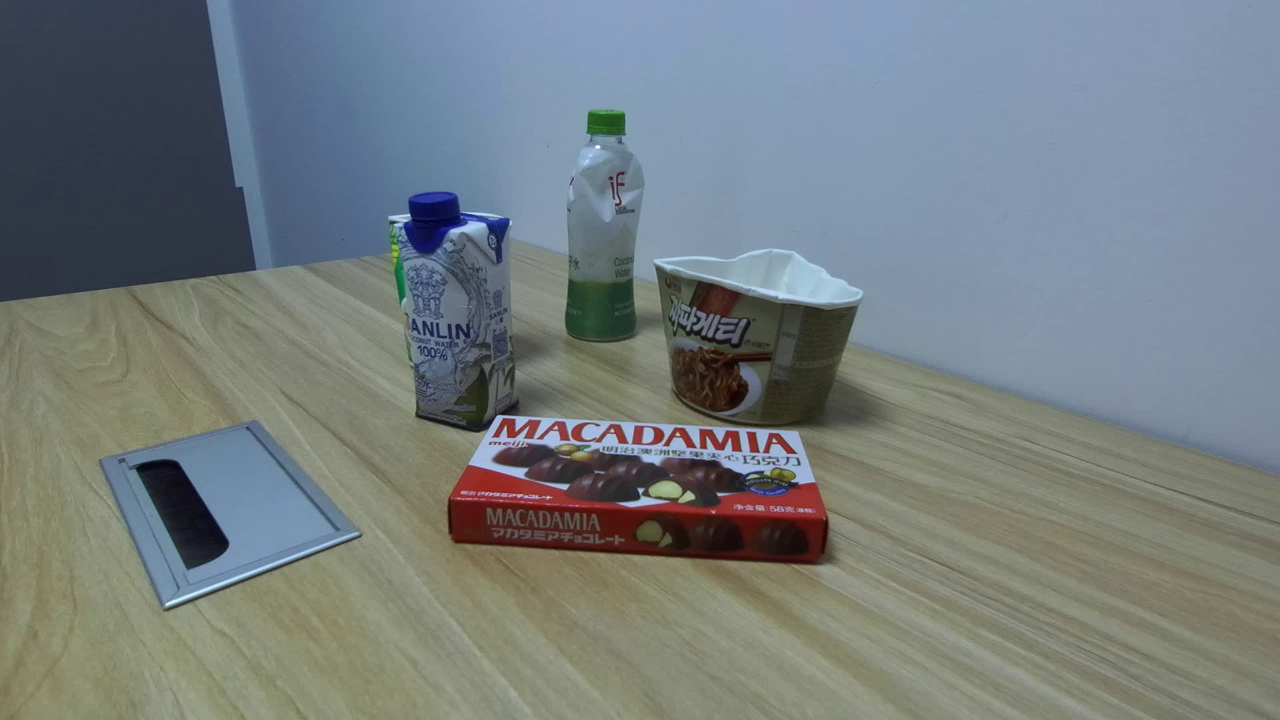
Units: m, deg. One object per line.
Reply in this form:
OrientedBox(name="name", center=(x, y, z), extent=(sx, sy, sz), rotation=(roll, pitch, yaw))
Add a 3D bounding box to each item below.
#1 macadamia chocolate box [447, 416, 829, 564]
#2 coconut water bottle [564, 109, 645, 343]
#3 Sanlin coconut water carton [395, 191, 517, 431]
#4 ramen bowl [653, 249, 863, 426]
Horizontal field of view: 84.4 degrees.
OrientedBox(name="macadamia chocolate box", center=(0.001, 0.065, 0.373), extent=(0.178, 0.027, 0.095), rotation=(3, 20, 3))
OrientedBox(name="coconut water bottle", center=(-0.031, -0.112, 0.599), extent=(0.067, 0.187, 0.067), rotation=(2, 20, -1))
OrientedBox(name="Sanlin coconut water carton", center=(-0.115, -0.033, 0.450), extent=(0.060, 0.144, 0.061), rotation=(9, 21, 22))
OrientedBox(name="ramen bowl", center=(0.085, -0.017, 0.487), extent=(0.114, 0.097, 0.133), rotation=(-9, 23, -25))
